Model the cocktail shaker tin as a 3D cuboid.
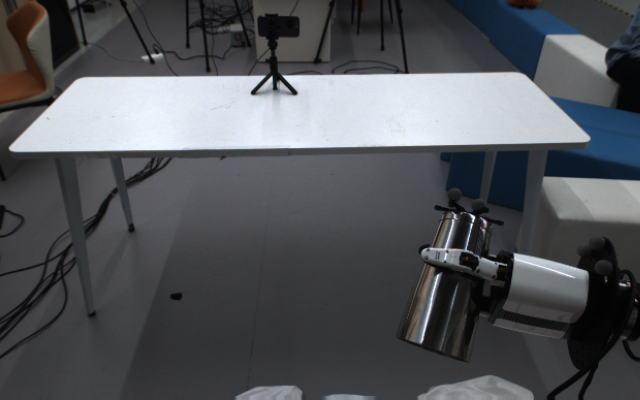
[{"bbox_3d":[0.163,0.103,0.608,0.093,0.093,0.170,16,74,19],"label":"cocktail shaker tin"}]
